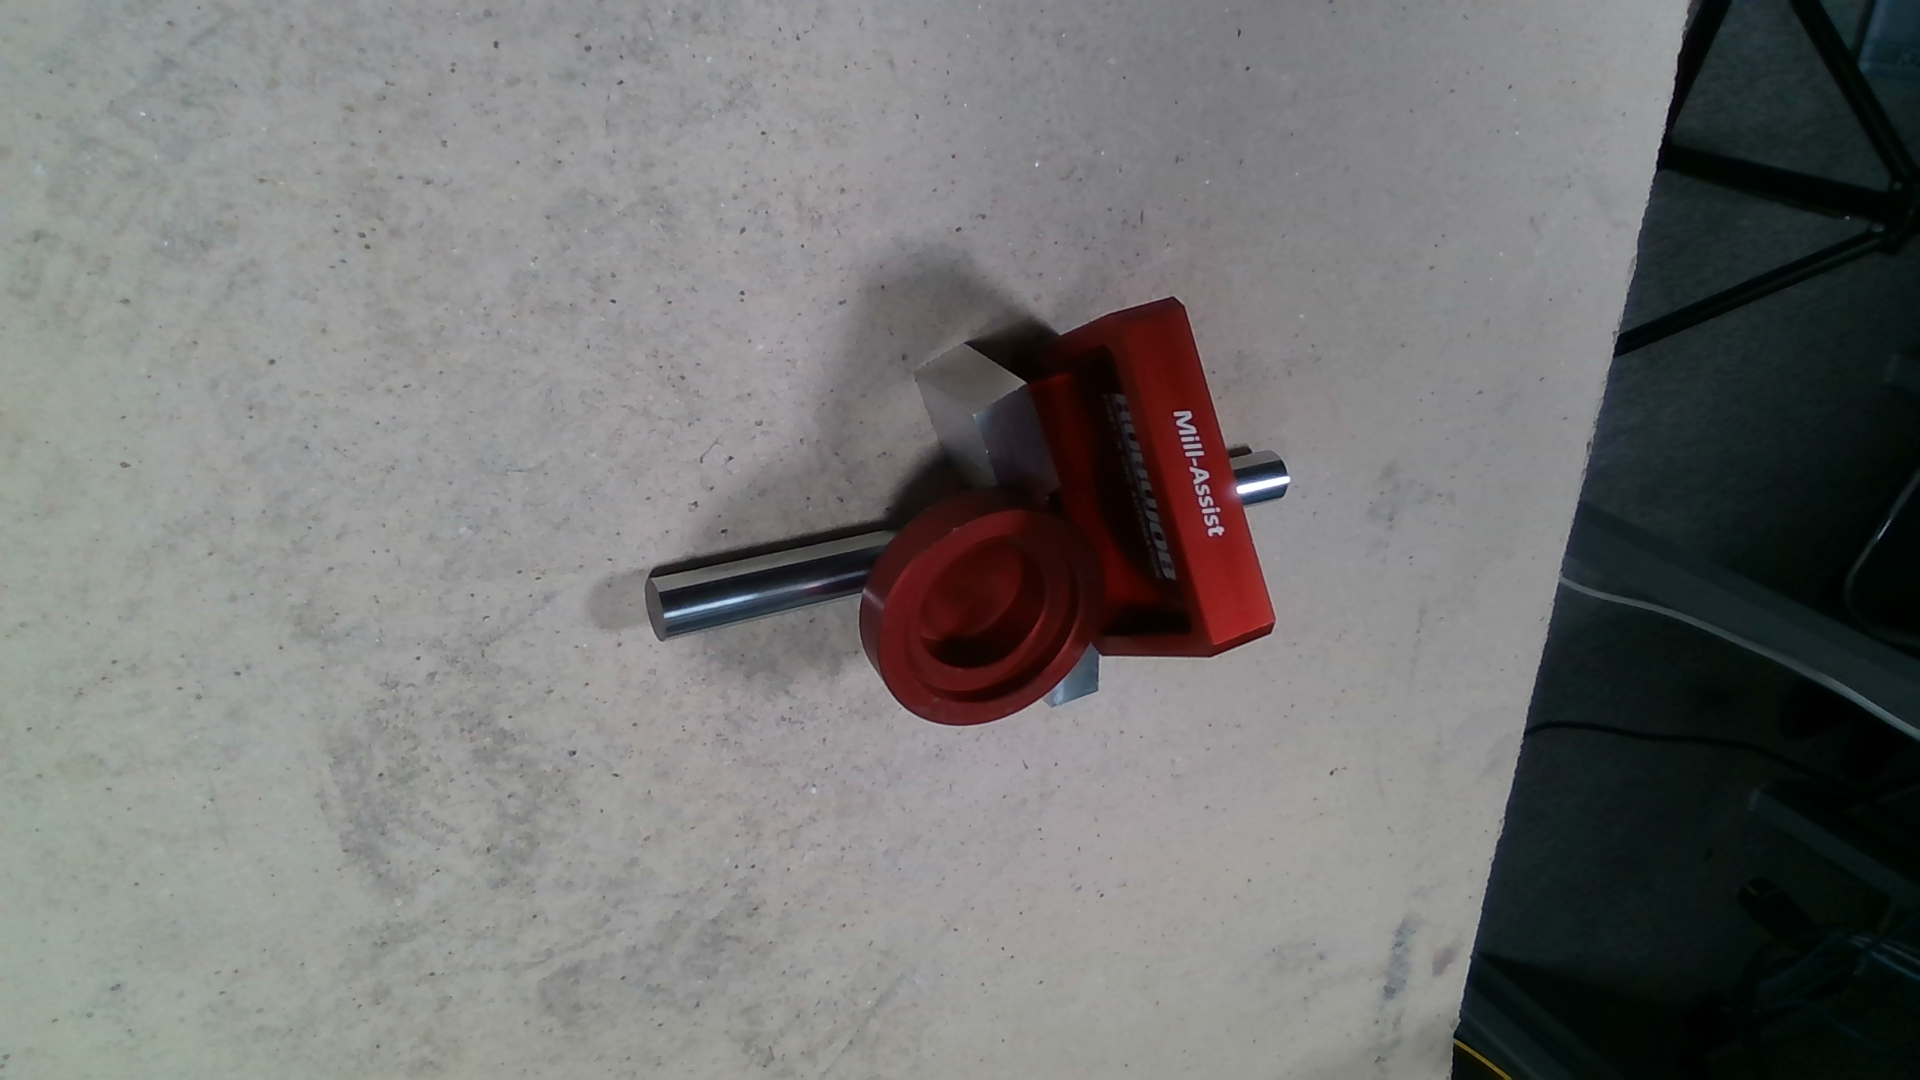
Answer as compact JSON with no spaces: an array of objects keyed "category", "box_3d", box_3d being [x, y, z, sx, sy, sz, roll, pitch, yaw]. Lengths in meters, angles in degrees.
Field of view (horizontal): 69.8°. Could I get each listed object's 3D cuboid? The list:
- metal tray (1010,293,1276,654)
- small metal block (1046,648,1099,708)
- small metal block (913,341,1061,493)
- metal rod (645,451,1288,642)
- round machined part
[{"category":"metal tray","box_3d":[0.069,-0.022,0.540,0.030,0.090,0.130,-19,94,-24]},{"category":"small metal block","box_3d":[0.037,0.037,0.608,0.025,0.050,0.050,-16,122,-24]},{"category":"small metal block","box_3d":[0.011,-0.045,0.547,0.025,0.050,0.050,-31,127,-14]},{"category":"metal rod","box_3d":[0.016,-0.002,0.589,0.300,0.025,0.025,-12,121,-26]},{"category":"round machined part","box_3d":[0.005,0.022,0.549,0.098,0.042,0.098,-13,123,-21]}]
